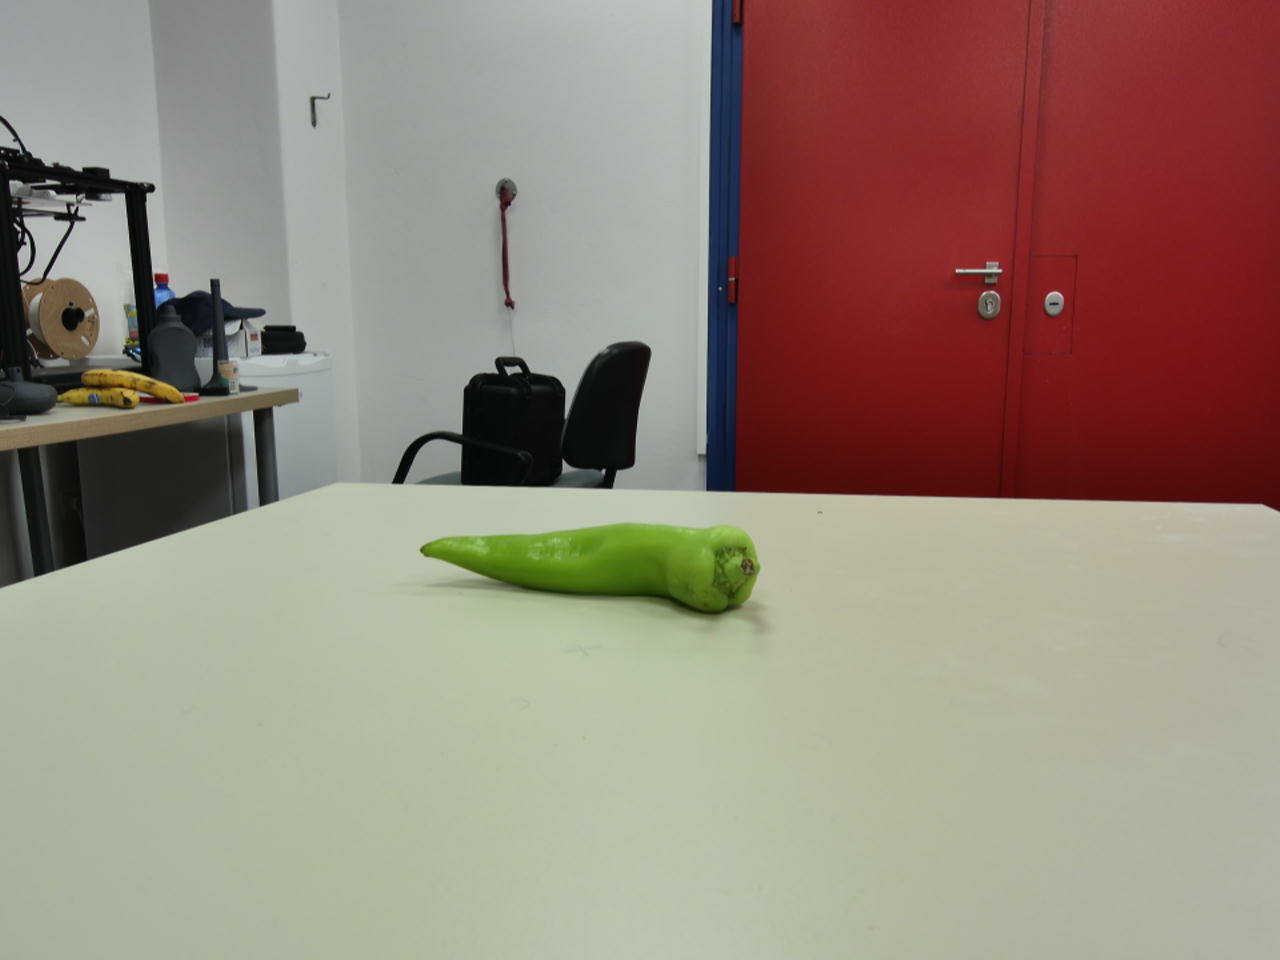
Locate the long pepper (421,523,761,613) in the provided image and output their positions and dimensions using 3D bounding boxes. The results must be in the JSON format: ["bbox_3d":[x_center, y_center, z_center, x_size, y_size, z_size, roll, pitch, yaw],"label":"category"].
[{"bbox_3d":[-0.020,0.042,0.550,0.205,0.045,0.065,3,7,28],"label":"long pepper"}]
